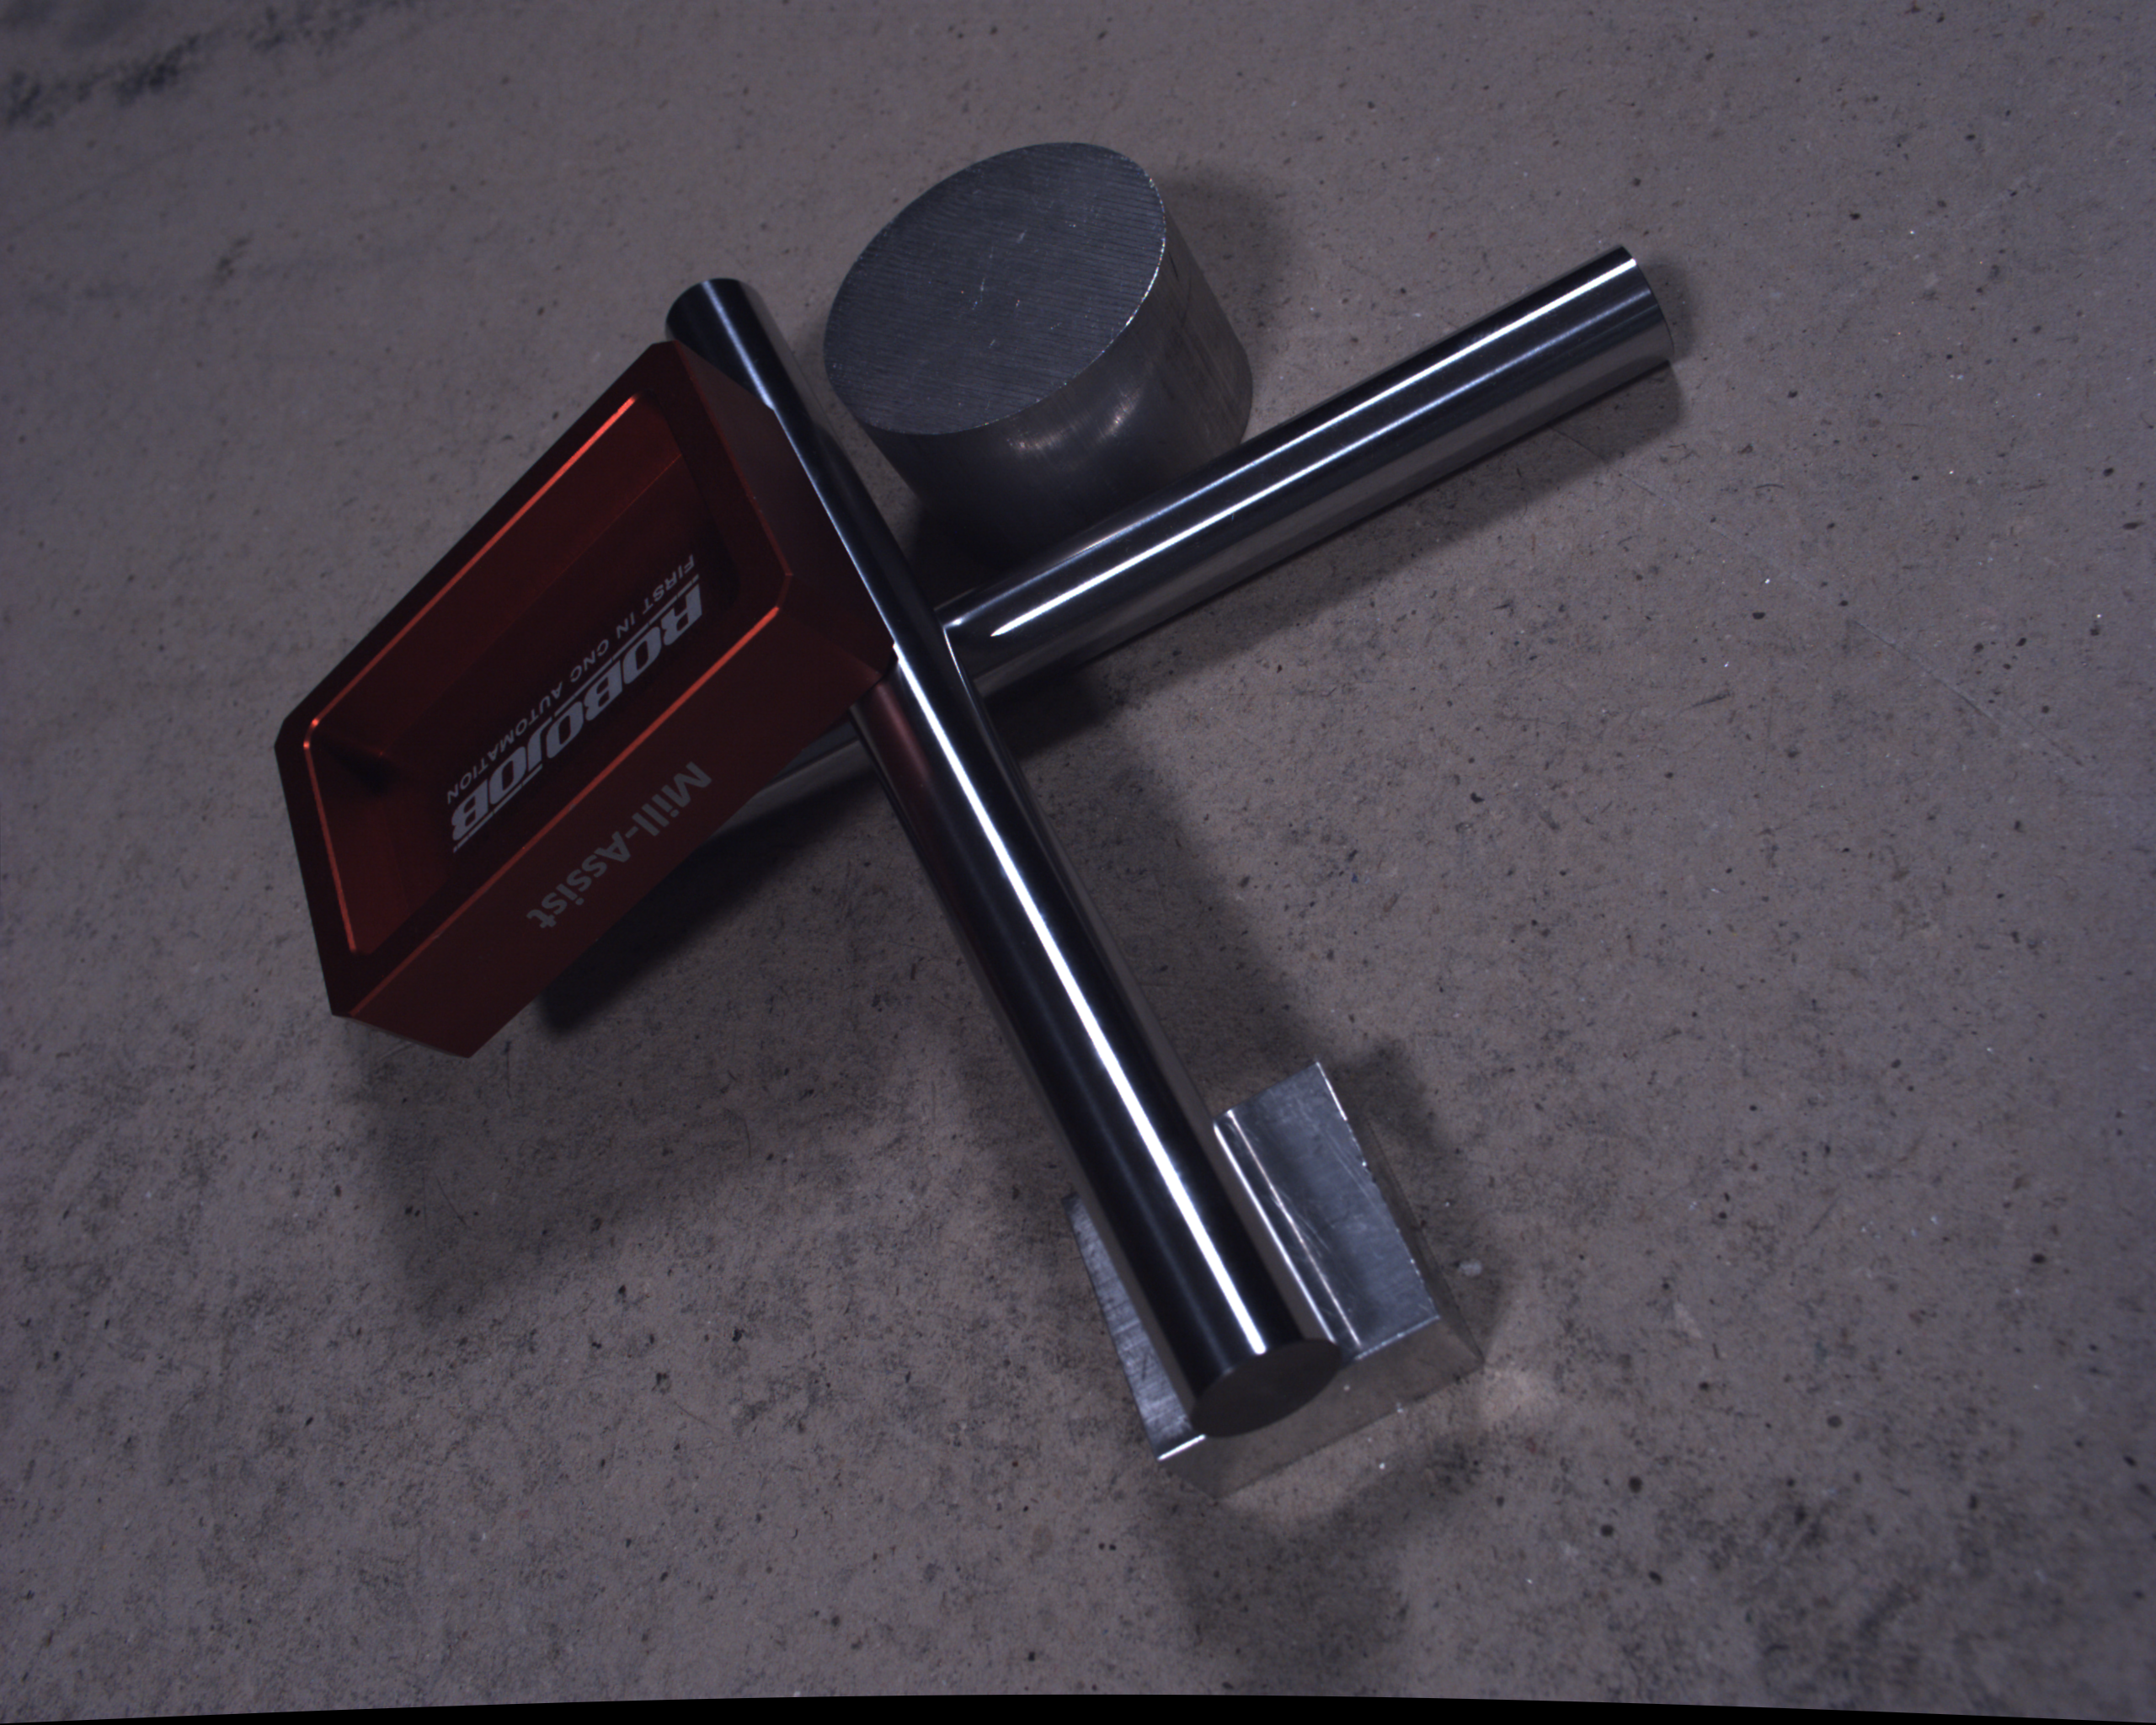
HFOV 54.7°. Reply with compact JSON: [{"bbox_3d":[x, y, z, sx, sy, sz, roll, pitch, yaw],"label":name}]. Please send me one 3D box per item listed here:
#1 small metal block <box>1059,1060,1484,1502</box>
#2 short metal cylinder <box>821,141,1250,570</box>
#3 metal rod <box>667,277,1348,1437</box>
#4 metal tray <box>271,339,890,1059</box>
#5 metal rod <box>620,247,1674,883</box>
[{"bbox_3d":[0.031,0.069,0.345,0.050,0.025,0.050,-29,52,9],"label":"small metal block"},{"bbox_3d":[-0.009,-0.111,0.459,0.080,0.050,0.080,-13,56,20],"label":"short metal cylinder"},{"bbox_3d":[-0.028,-0.025,0.402,0.025,0.025,0.300,-34,52,6],"label":"metal rod"},{"bbox_3d":[-0.106,-0.034,0.427,0.130,0.030,0.090,-41,50,15],"label":"metal tray"},{"bbox_3d":[-0.020,-0.045,0.442,0.301,0.025,0.025,-26,53,11],"label":"metal rod"}]
